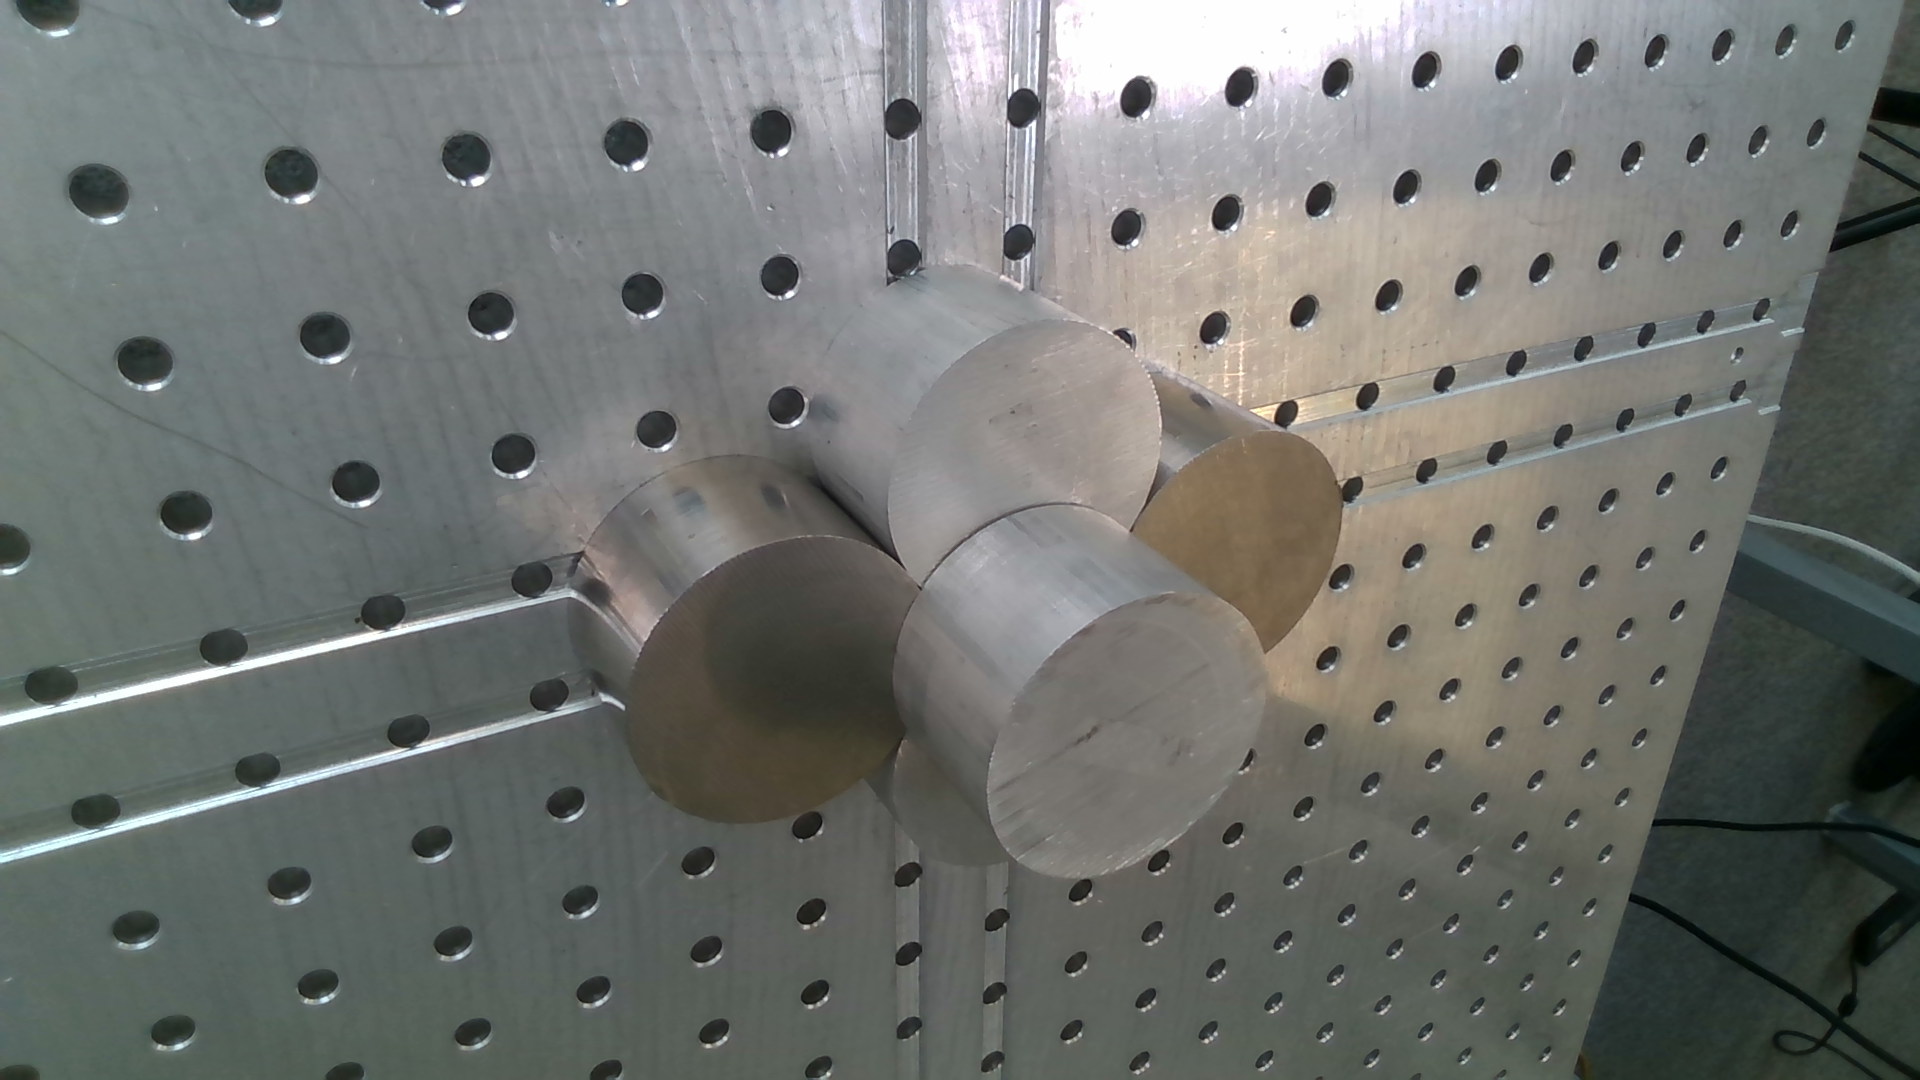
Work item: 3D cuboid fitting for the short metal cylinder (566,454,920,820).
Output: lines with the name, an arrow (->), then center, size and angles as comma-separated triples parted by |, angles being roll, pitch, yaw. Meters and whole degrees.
short metal cylinder -> -0.054, 0.024, 0.355 | 0.080, 0.050, 0.080 | -16, 123, -27

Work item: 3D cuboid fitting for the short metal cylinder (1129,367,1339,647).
short metal cylinder -> 0.066, -0.006, 0.414 | 0.080, 0.050, 0.080 | -15, 123, -25

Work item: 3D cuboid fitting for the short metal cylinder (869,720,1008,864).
short metal cylinder -> 0.006, 0.047, 0.405 | 0.080, 0.050, 0.080 | -15, 122, -25

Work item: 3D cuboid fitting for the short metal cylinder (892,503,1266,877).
short metal cylinder -> 0.030, 0.037, 0.349 | 0.080, 0.050, 0.080 | -14, 122, -25

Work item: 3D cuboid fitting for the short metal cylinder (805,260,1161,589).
short metal cylinder -> 0.006, -0.028, 0.365 | 0.080, 0.050, 0.080 | -14, 122, -25
